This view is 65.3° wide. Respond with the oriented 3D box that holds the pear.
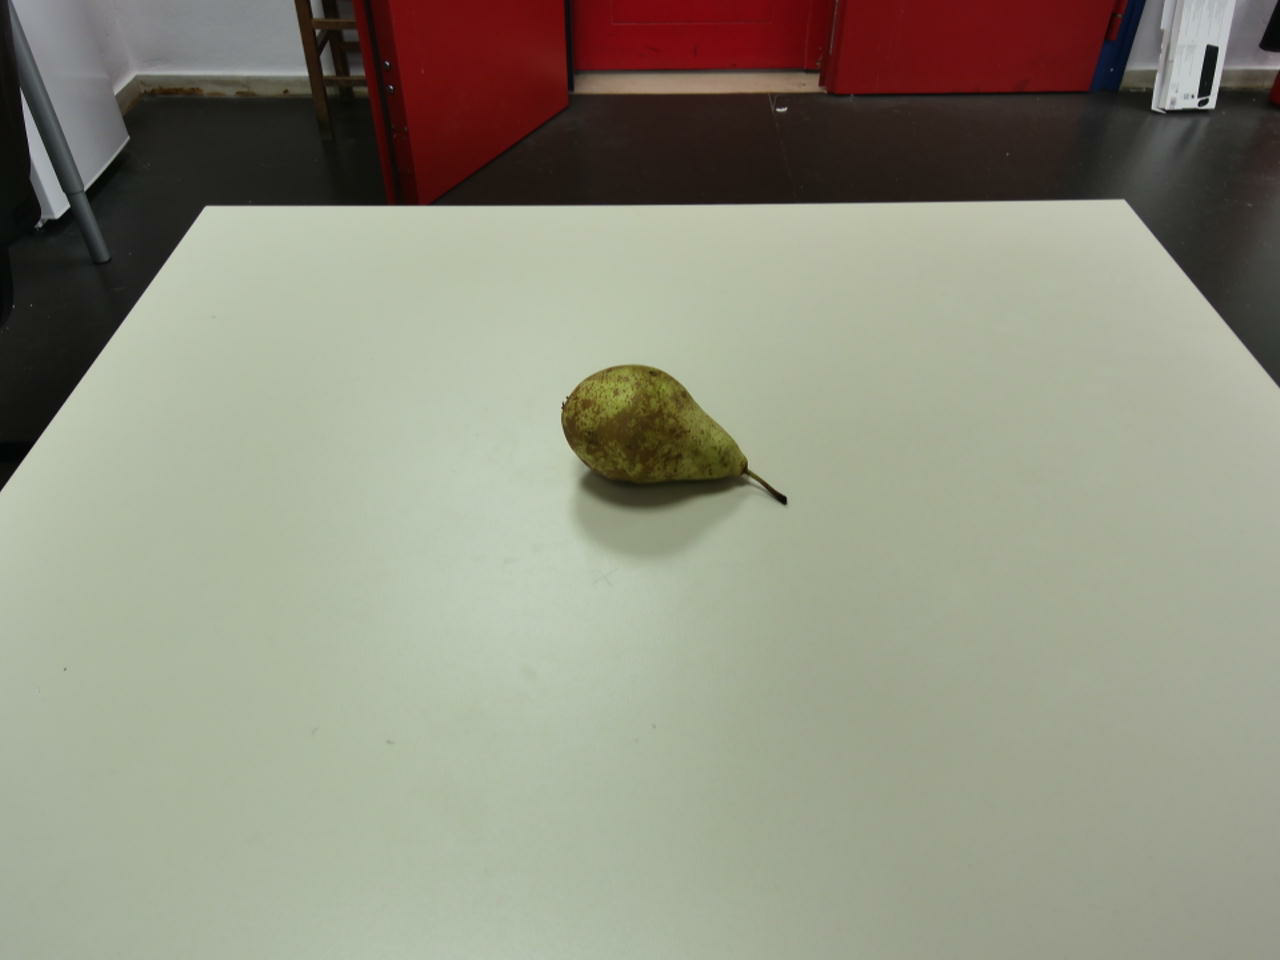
[{"bbox_3d":[0.018,-0.032,0.591,0.128,0.075,0.071,-5,39,-6],"label":"pear"}]
